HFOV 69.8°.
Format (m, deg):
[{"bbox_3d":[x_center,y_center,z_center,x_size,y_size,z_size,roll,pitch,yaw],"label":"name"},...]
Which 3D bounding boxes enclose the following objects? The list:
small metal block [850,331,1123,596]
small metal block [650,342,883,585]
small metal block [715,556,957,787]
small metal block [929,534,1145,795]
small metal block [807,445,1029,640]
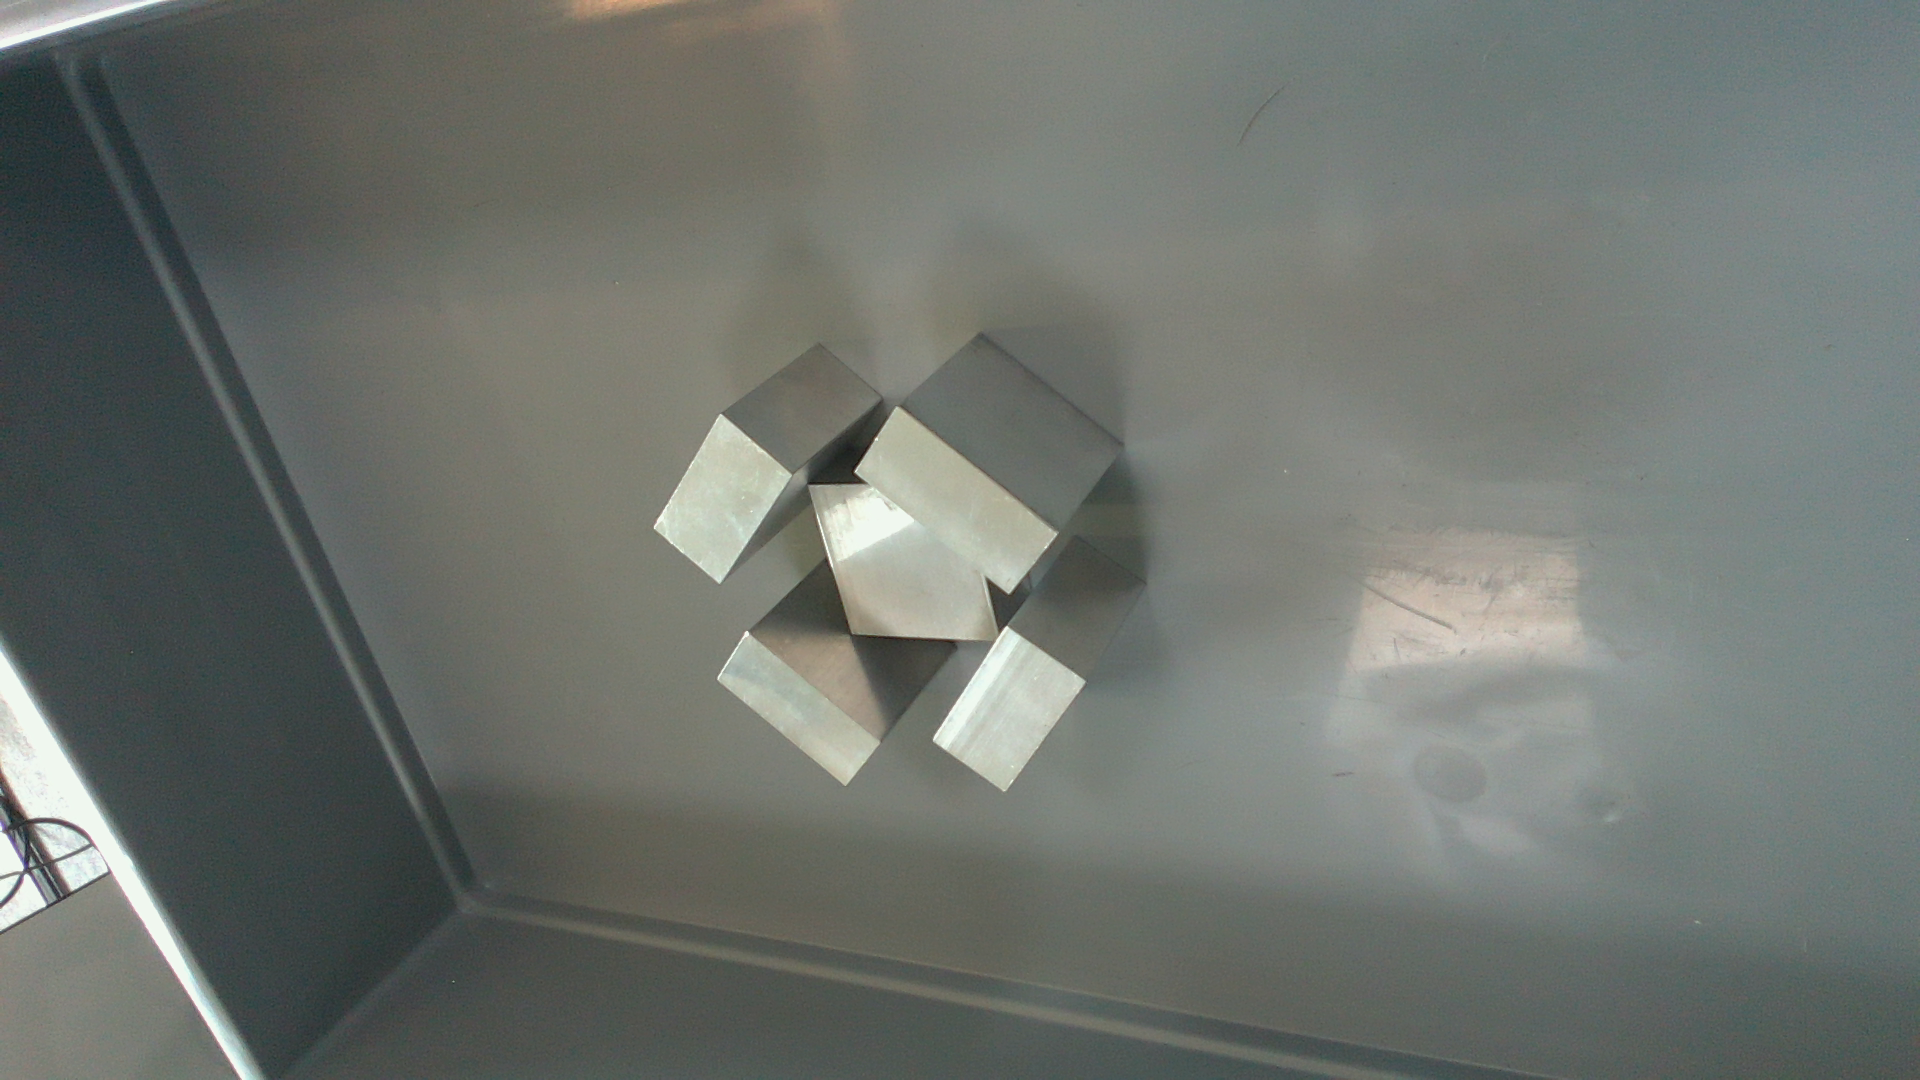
[{"bbox_3d":[0.008,-0.021,0.357,0.050,0.050,0.025,38,128,1],"label":"small metal block"},{"bbox_3d":[-0.055,-0.022,0.390,0.025,0.050,0.050,41,130,1],"label":"small metal block"},{"bbox_3d":[-0.037,0.038,0.418,0.050,0.050,0.025,39,130,2],"label":"small metal block"},{"bbox_3d":[0.022,0.034,0.384,0.025,0.050,0.050,34,128,5],"label":"small metal block"},{"bbox_3d":[-0.011,0.000,0.397,0.050,0.025,0.050,1,119,28],"label":"small metal block"}]
